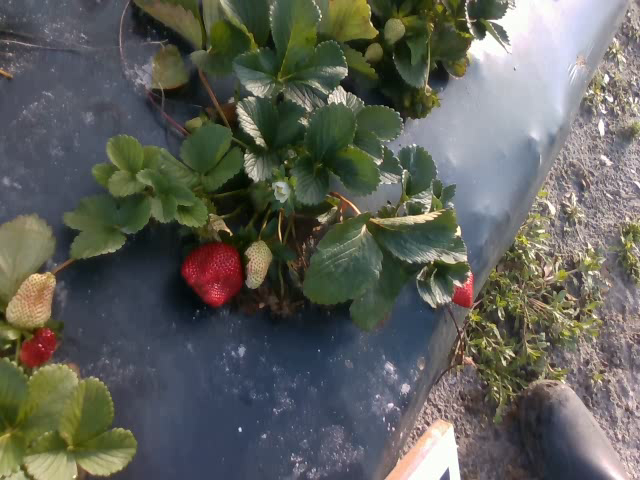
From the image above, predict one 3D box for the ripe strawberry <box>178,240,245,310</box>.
[{"bbox_3d":[-0.095,0.033,0.540,0.057,0.058,0.071,0,13,17],"label":"ripe strawberry"}]
